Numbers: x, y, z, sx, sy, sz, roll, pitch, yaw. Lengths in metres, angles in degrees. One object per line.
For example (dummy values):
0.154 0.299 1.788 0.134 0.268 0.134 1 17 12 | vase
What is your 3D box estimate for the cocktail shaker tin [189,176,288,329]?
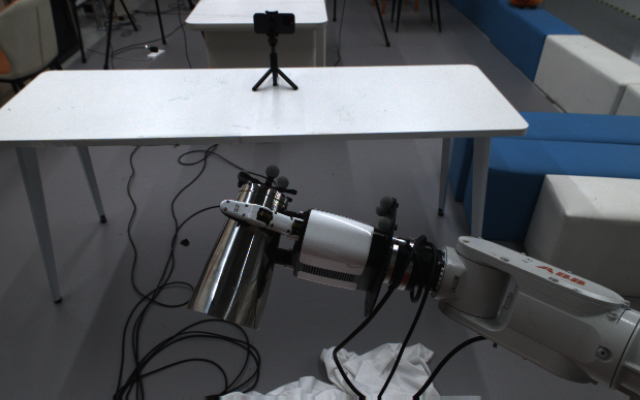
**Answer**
-0.097 0.066 0.618 0.093 0.093 0.170 13 72 15 | cocktail shaker tin
